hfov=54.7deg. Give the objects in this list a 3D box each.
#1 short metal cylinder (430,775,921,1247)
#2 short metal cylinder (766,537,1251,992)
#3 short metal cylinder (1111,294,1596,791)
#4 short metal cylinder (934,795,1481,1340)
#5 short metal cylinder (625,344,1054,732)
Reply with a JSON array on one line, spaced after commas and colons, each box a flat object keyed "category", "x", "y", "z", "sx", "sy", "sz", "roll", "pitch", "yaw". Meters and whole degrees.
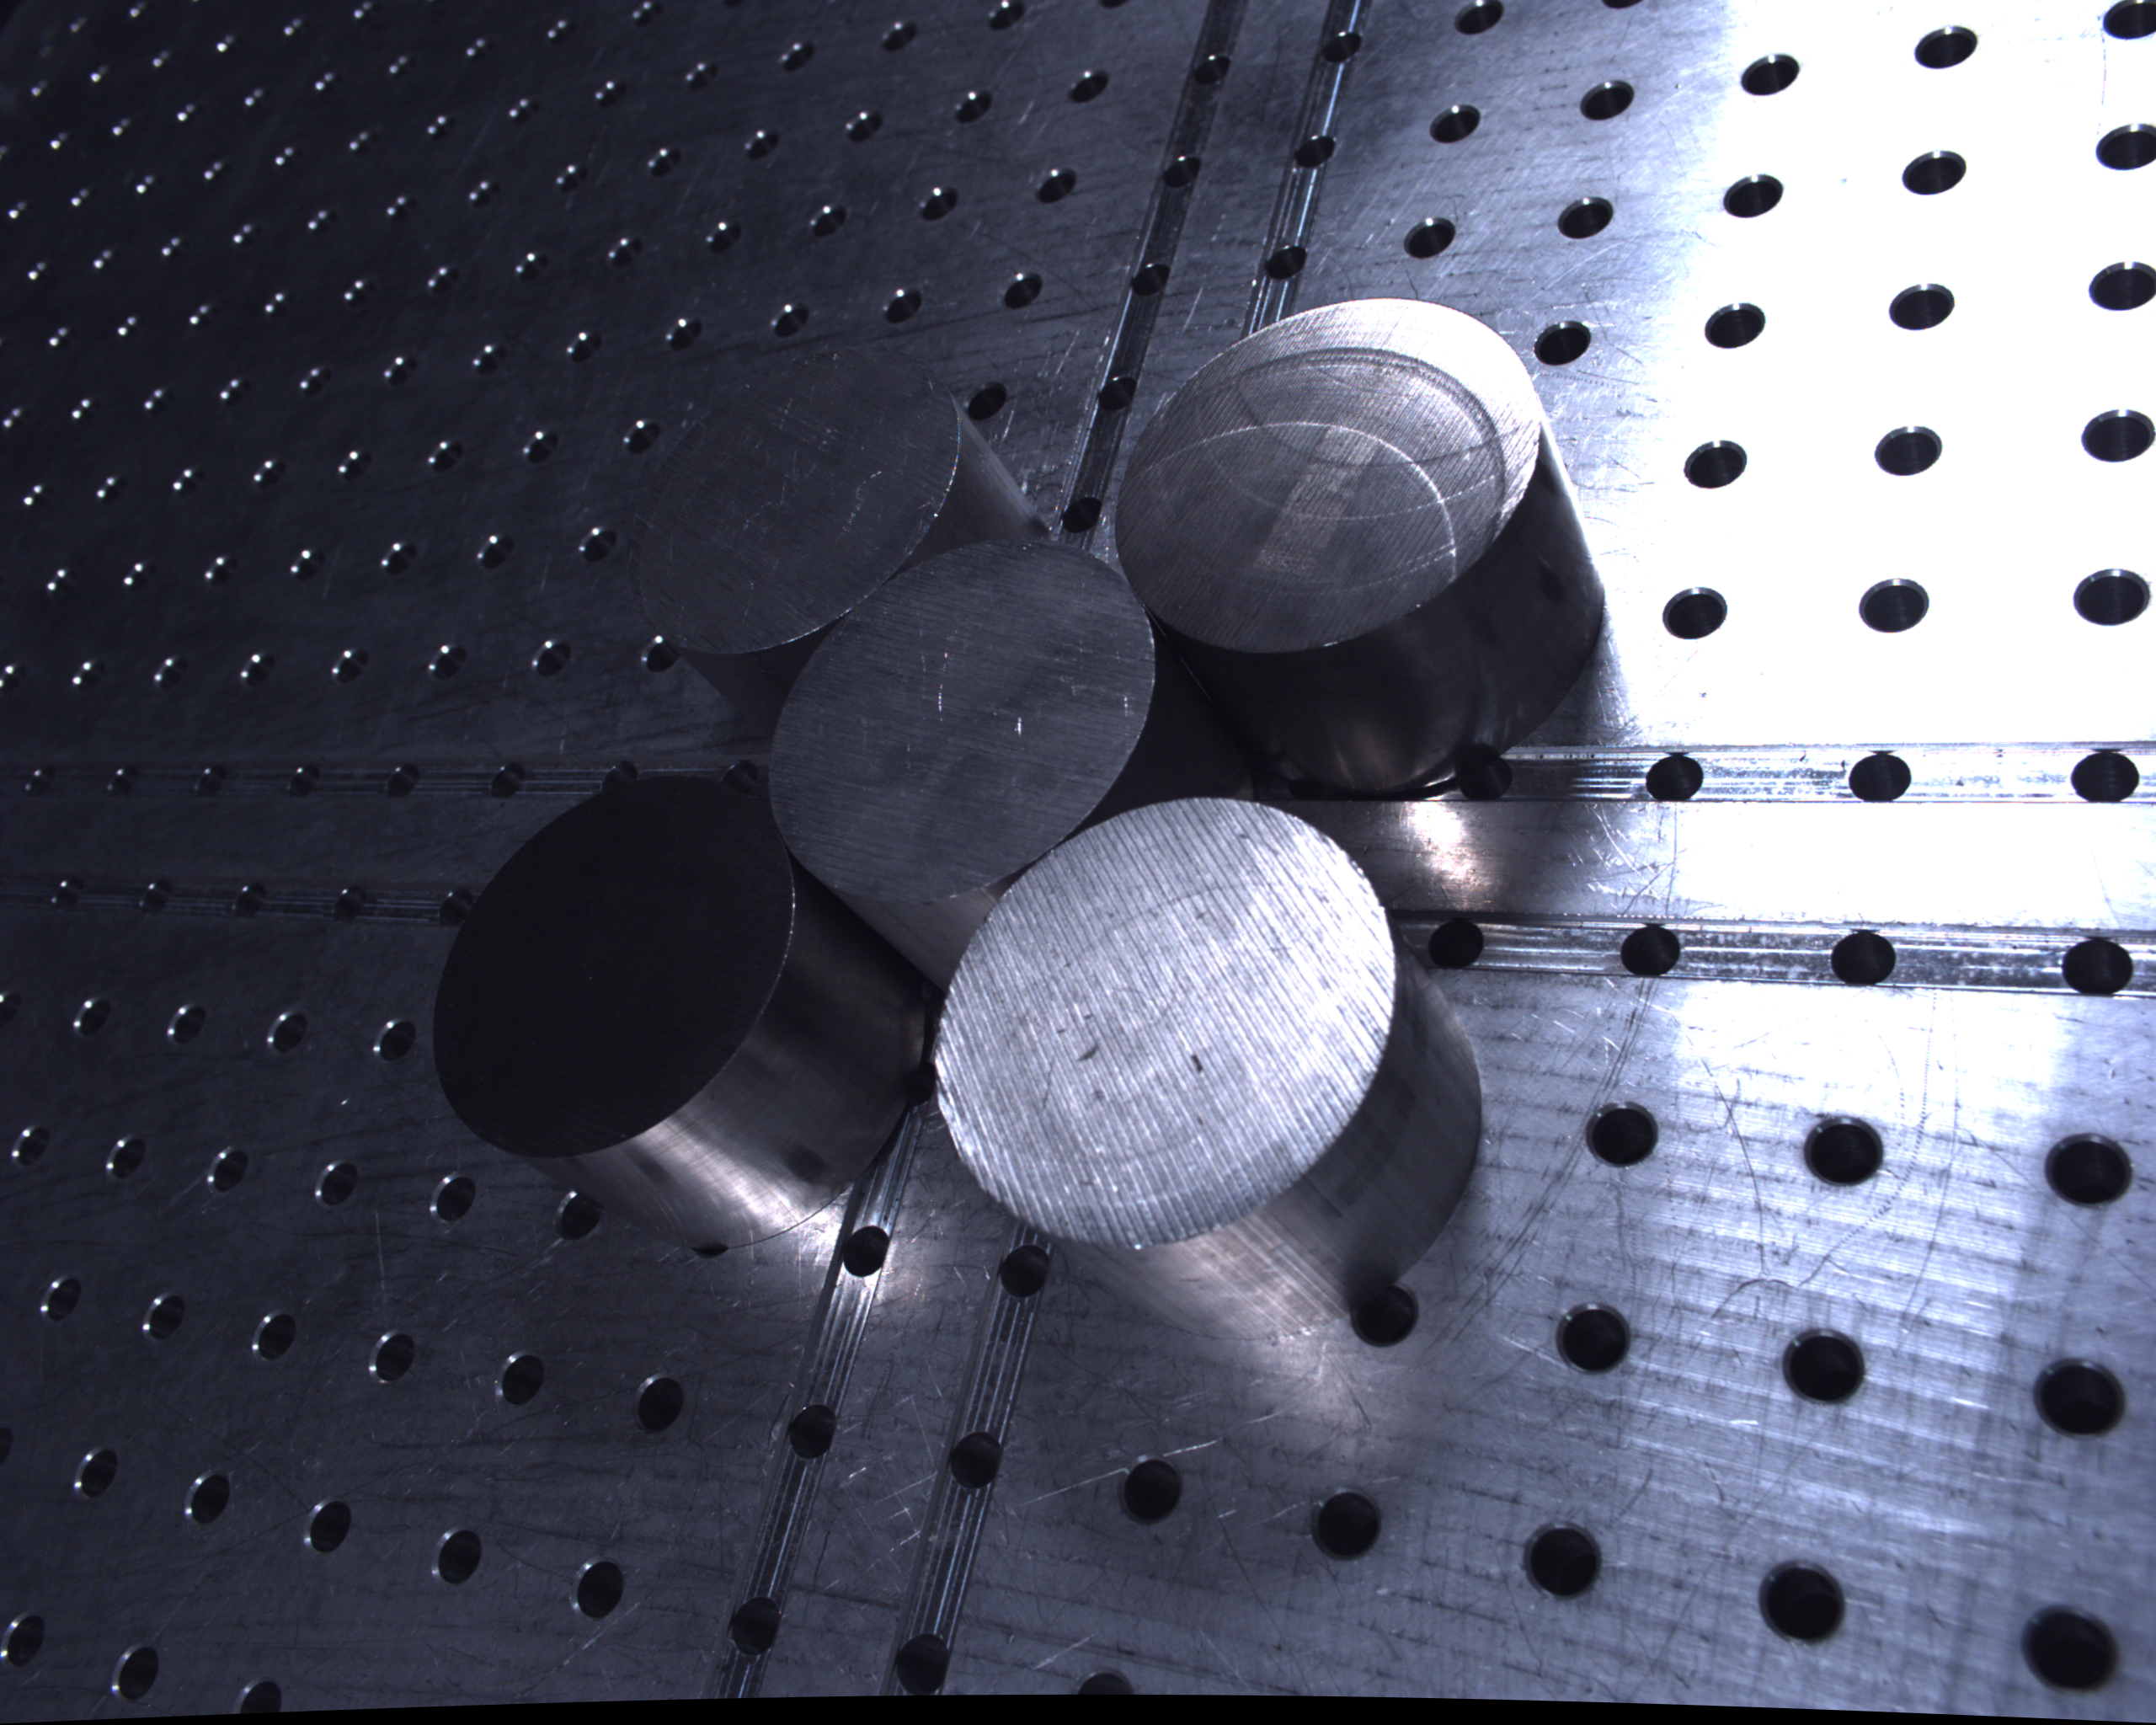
[{"category": "short metal cylinder", "x": -0.079, "y": 0.030, "z": 0.412, "sx": 0.080, "sy": 0.050, "sz": 0.080, "roll": -13, "pitch": 56, "yaw": 20}, {"category": "short metal cylinder", "x": -0.013, "y": -0.016, "z": 0.407, "sx": 0.080, "sy": 0.050, "sz": 0.080, "roll": -13, "pitch": 56, "yaw": 20}, {"category": "short metal cylinder", "x": 0.053, "y": -0.061, "z": 0.398, "sx": 0.080, "sy": 0.050, "sz": 0.080, "roll": -13, "pitch": 56, "yaw": 20}, {"category": "short metal cylinder", "x": 0.023, "y": 0.035, "z": 0.357, "sx": 0.080, "sy": 0.050, "sz": 0.080, "roll": -13, "pitch": 56, "yaw": 20}, {"category": "short metal cylinder", "x": -0.051, "y": -0.066, "z": 0.457, "sx": 0.080, "sy": 0.050, "sz": 0.080, "roll": -13, "pitch": 56, "yaw": 20}]
